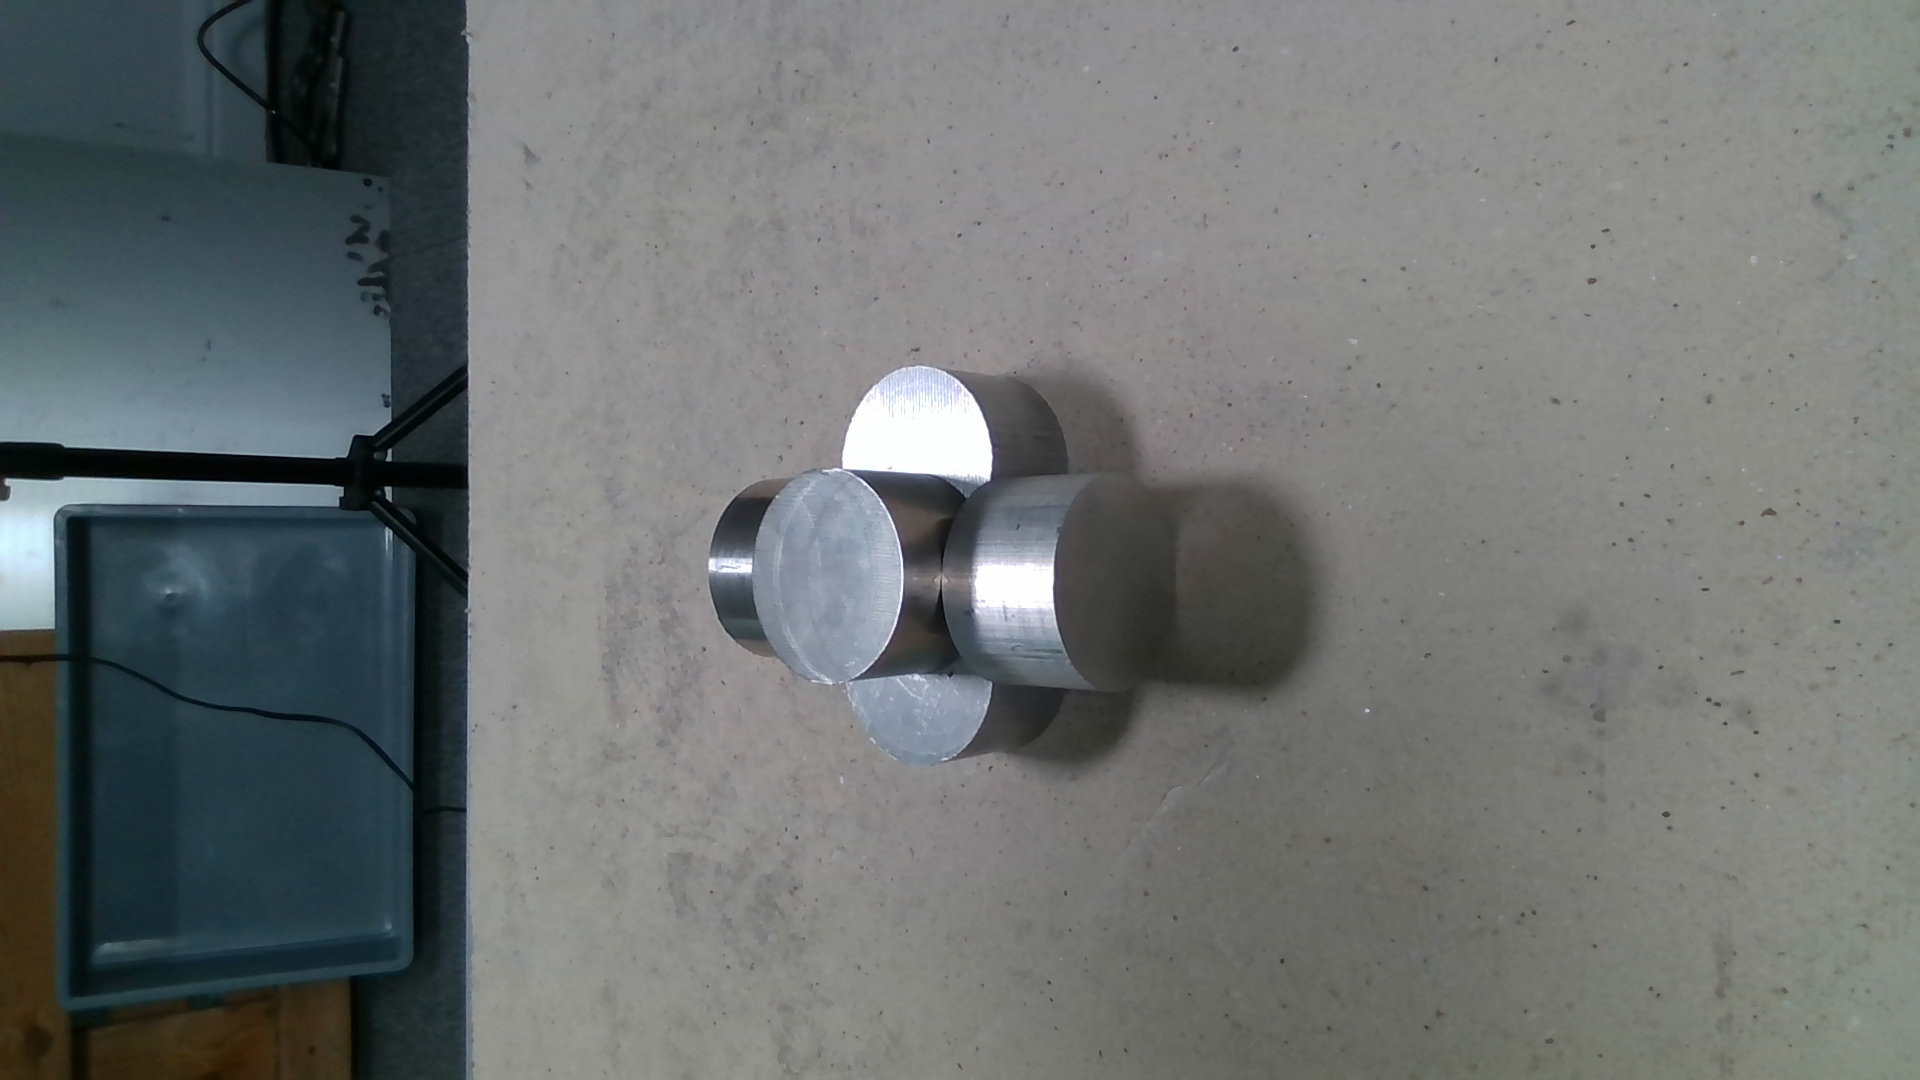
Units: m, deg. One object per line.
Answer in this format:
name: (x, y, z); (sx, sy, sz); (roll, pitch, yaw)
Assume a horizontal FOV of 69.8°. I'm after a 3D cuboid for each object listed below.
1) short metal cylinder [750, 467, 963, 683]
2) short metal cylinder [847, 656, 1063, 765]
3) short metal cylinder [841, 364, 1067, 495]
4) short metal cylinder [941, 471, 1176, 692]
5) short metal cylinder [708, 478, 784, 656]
short metal cylinder: (-0.035, 0.013, 0.529); (0.080, 0.050, 0.080); (0, 91, 40)
short metal cylinder: (-0.002, 0.050, 0.568); (0.080, 0.050, 0.080); (0, 91, 40)
short metal cylinder: (-0.003, -0.030, 0.568); (0.080, 0.050, 0.080); (0, 91, 40)
short metal cylinder: (0.038, 0.015, 0.515); (0.050, 0.080, 0.080); (0, 90, 40)
short metal cylinder: (-0.062, 0.012, 0.600); (0.050, 0.080, 0.080); (0, 91, 40)
